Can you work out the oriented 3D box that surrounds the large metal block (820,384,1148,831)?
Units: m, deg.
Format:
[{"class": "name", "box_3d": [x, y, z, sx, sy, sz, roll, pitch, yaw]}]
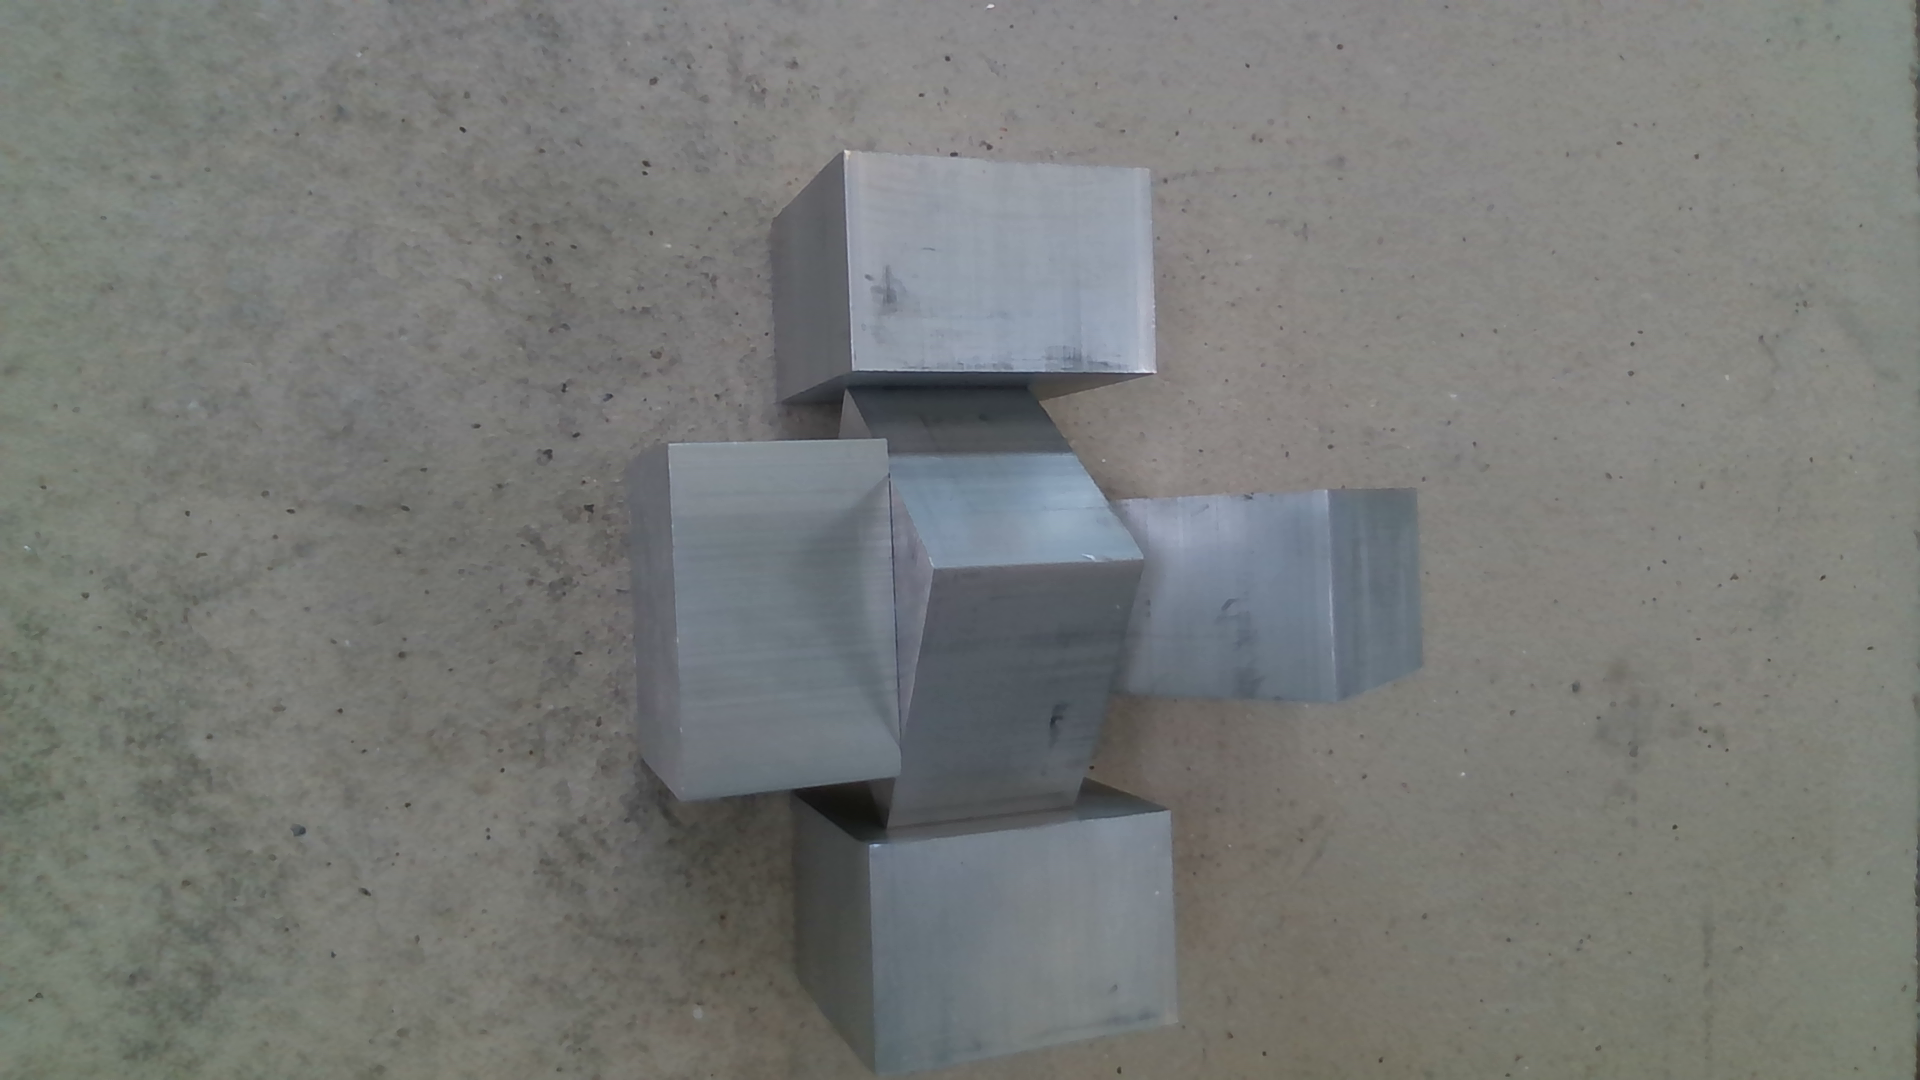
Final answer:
[{"class": "large metal block", "box_3d": [-0.001, 0.014, 0.349, 0.050, 0.080, 0.080, -3, 126, -21]}]

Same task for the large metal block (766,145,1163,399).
[{"class": "large metal block", "box_3d": [-0.002, -0.066, 0.363, 0.080, 0.080, 0.050, -2, 91, -20]}]

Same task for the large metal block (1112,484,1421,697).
[{"class": "large metal block", "box_3d": [0.075, 0.012, 0.377, 0.080, 0.080, 0.050, -4, 91, -58]}]

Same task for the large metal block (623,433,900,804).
[{"class": "large metal block", "box_3d": [-0.053, 0.017, 0.346, 0.050, 0.080, 0.080, -3, 91, -20]}]

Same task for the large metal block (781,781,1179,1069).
[{"class": "large metal block", "box_3d": [0.002, 0.094, 0.366, 0.080, 0.080, 0.050, -2, 92, -21]}]
